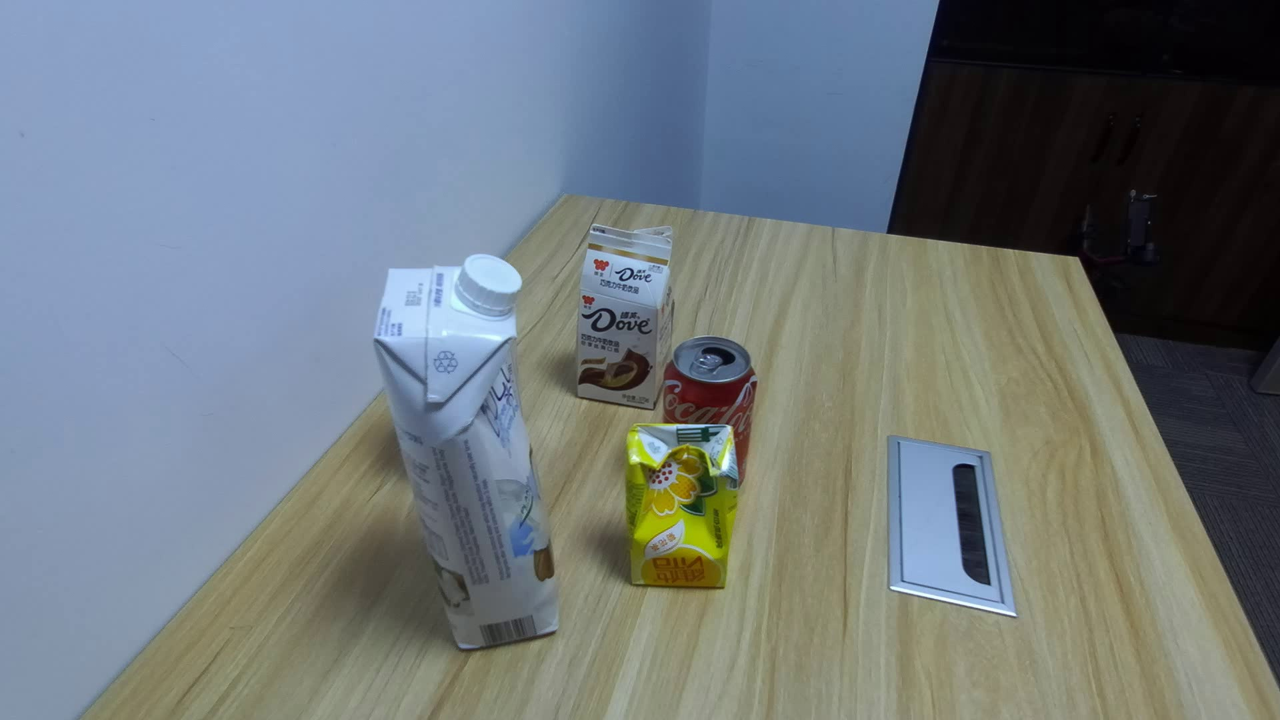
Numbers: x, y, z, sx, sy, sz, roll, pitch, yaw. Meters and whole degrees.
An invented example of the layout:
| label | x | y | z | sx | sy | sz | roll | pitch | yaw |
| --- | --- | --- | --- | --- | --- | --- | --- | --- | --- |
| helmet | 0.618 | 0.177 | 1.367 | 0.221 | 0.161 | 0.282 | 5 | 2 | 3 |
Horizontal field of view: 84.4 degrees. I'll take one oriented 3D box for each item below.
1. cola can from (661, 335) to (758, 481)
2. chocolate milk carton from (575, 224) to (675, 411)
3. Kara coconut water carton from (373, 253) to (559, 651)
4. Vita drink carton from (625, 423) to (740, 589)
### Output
| label | x | y | z | sx | sy | sz | roll | pitch | yaw |
| --- | --- | --- | --- | --- | --- | --- | --- | --- | --- |
| cola can | 0.050 | 0.043 | 0.525 | 0.068 | 0.120 | 0.067 | 1 | 36 | -1 |
| chocolate milk carton | -0.014 | -0.043 | 0.608 | 0.084 | 0.155 | 0.073 | 9 | 37 | 11 |
| Kara coconut water carton | -0.091 | 0.056 | 0.401 | 0.071 | 0.244 | 0.099 | -7 | 36 | -9 |
| Vita drink carton | 0.027 | 0.097 | 0.459 | 0.071 | 0.110 | 0.046 | 1 | 34 | 3 |
